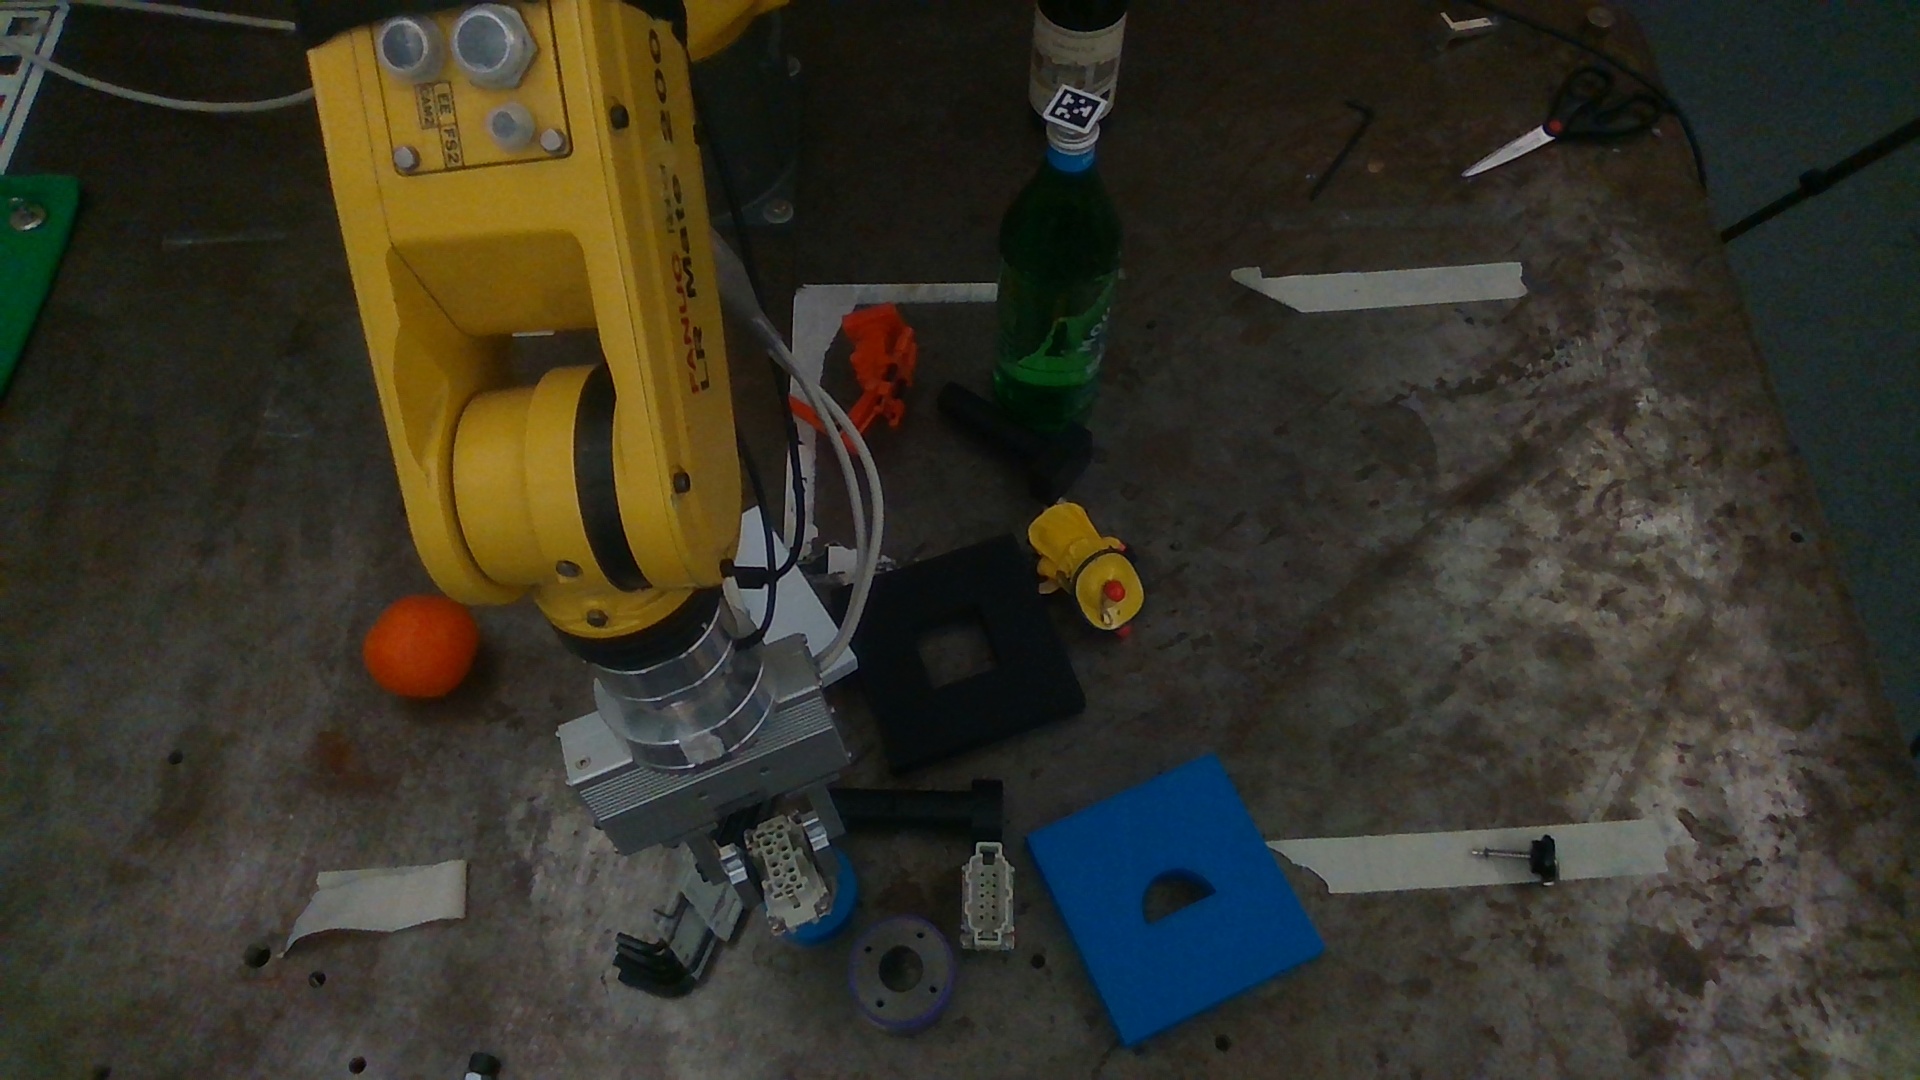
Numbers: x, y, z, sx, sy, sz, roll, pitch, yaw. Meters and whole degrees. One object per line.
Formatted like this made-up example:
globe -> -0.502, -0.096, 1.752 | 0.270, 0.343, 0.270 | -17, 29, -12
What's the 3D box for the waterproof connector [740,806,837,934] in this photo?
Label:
waterproof connector -> -0.094, 0.176, 0.748 | 0.037, 0.038, 0.069 | -26, 48, -1
